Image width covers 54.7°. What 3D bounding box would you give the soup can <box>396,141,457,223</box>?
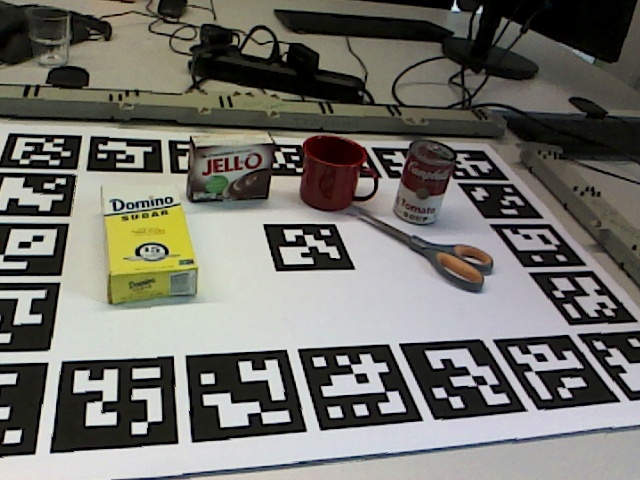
[{"bbox_3d":[0.153,-0.084,0.901,0.068,0.102,0.068,6,36,-5],"label":"soup can"}]

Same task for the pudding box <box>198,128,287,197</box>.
[{"bbox_3d":[-0.109,-0.109,0.859,0.113,0.090,0.039,-7,47,-23],"label":"pudding box"}]

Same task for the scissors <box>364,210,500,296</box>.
[{"bbox_3d":[0.147,0.003,0.843,0.204,0.016,0.087,30,51,22],"label":"scissors"}]

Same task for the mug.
[{"bbox_3d":[0.033,-0.105,0.903,0.118,0.081,0.093,33,44,28],"label":"mug"}]

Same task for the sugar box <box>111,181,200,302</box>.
[{"bbox_3d":[-0.202,-0.005,0.749,0.092,0.045,0.177,-4,41,-17],"label":"sugar box"}]
